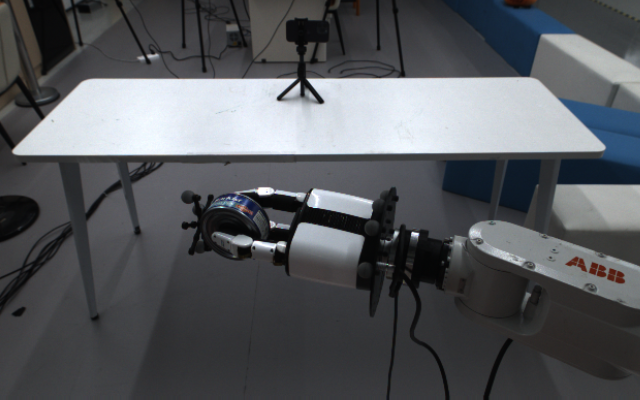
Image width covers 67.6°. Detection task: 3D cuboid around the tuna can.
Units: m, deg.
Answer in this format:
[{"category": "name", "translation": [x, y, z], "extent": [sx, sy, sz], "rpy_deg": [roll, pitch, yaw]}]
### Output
[{"category": "tuna can", "translation": [-0.107, 0.034, 0.623], "extent": [0.085, 0.085, 0.034], "rpy_deg": [9, 33, 10]}]
